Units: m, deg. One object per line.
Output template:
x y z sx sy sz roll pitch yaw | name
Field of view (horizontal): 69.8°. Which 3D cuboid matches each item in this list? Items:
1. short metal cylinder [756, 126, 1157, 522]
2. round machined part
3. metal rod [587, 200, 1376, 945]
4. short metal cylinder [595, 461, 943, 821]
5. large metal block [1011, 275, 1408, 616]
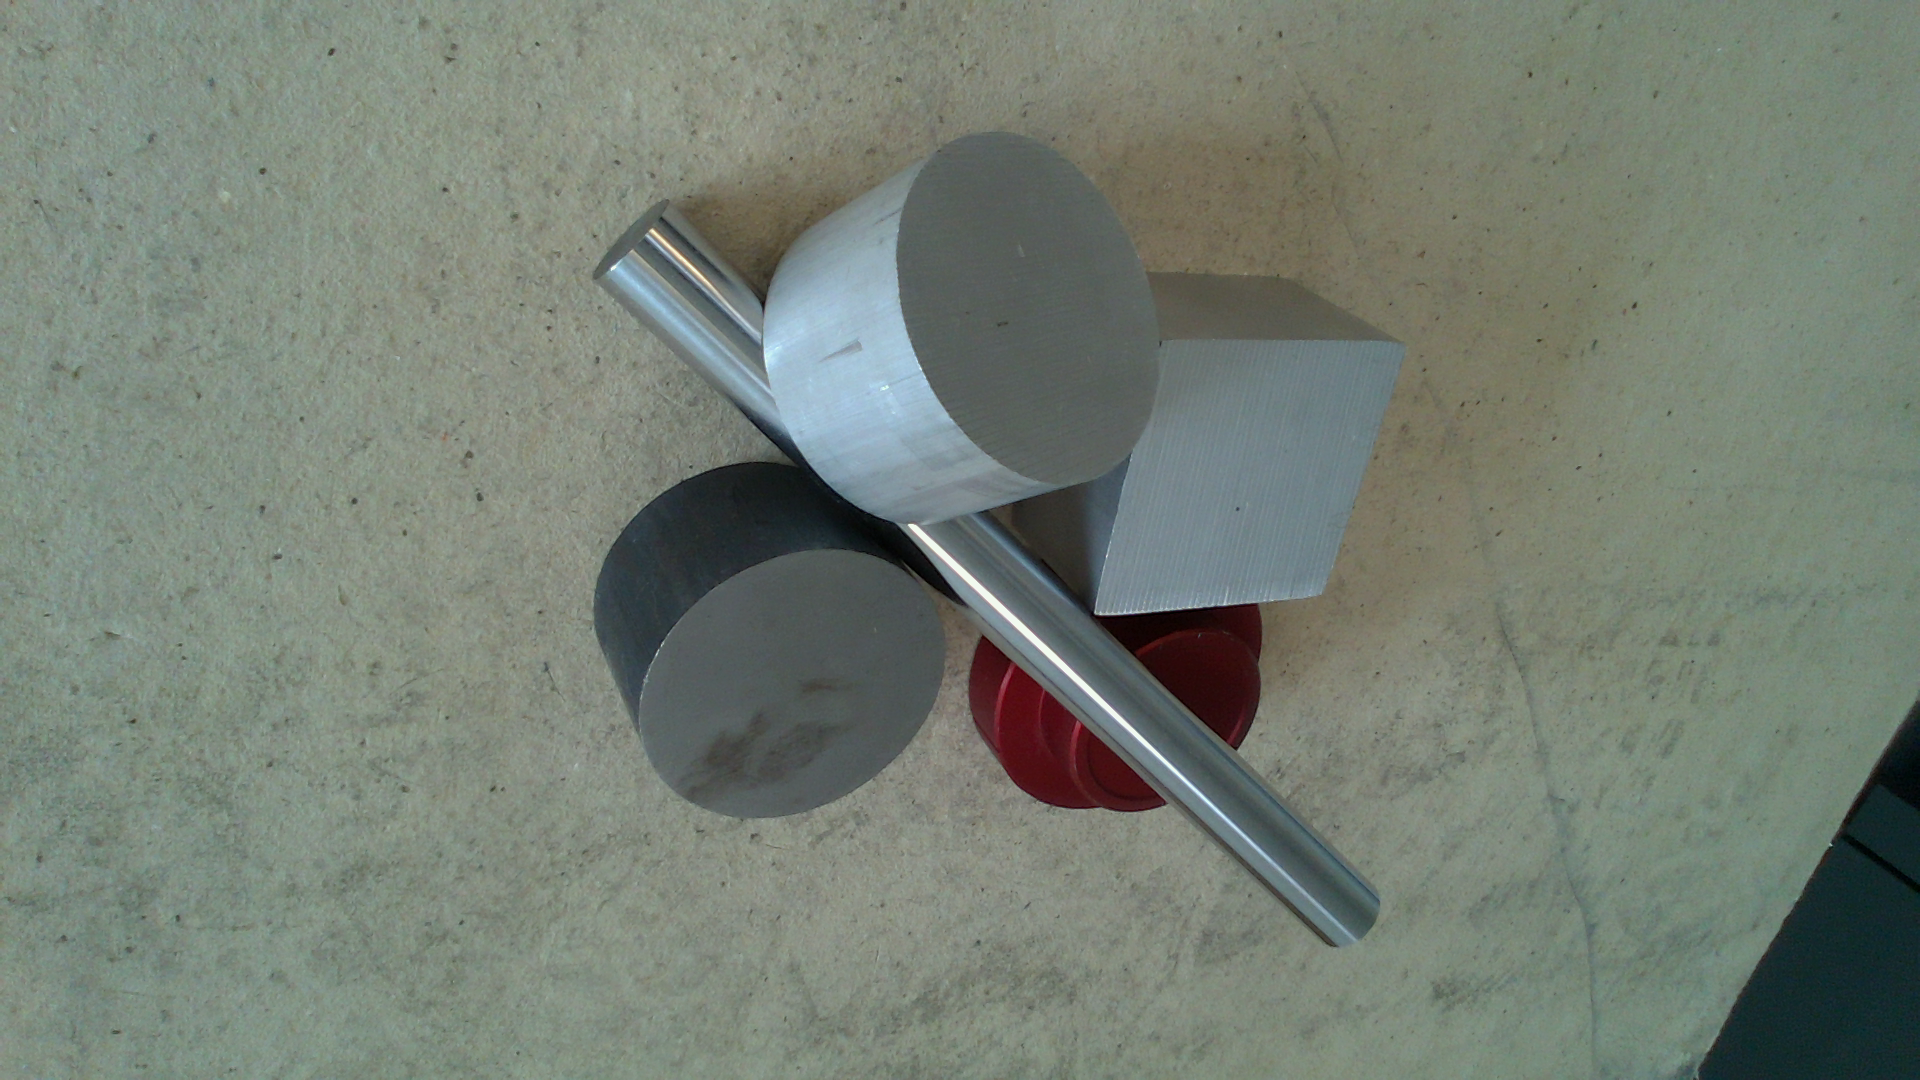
0.000 -0.048 0.320 0.080 0.050 0.080 11 74 -40 | short metal cylinder
0.055 0.048 0.436 0.098 0.042 0.098 -14 124 -21 | round machined part
0.023 0.026 0.374 0.025 0.025 0.301 -45 116 3 | metal rod
-0.051 0.026 0.363 0.080 0.050 0.080 -14 124 -21 | short metal cylinder
0.068 -0.029 0.390 0.080 0.050 0.080 -3 120 -27 | large metal block
